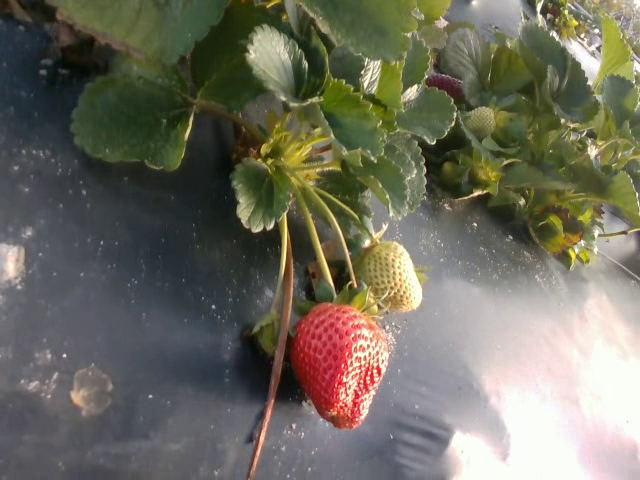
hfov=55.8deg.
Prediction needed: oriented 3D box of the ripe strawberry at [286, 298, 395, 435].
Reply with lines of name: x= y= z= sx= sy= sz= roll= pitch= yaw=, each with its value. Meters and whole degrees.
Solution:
ripe strawberry: x=0.014 y=0.051 z=0.238 sx=0.047 sy=0.050 sz=0.034 roll=22 pitch=-28 yaw=-30
